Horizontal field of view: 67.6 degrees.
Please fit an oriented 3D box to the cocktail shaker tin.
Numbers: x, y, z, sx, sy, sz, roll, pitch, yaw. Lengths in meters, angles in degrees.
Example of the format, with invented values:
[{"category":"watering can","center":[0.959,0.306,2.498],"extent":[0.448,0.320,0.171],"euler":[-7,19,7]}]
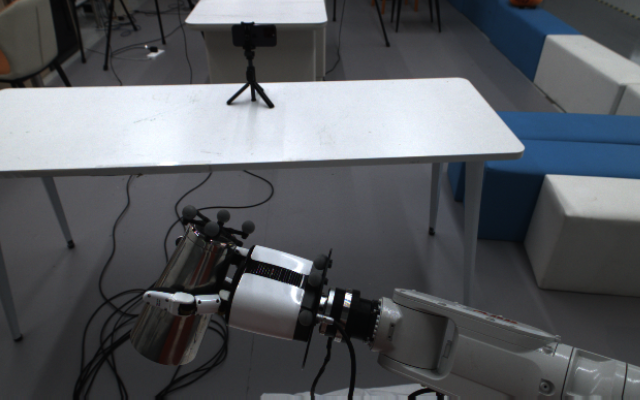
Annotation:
[{"category":"cocktail shaker tin","center":[-0.169,0.114,0.627],"extent":[0.093,0.170,0.093],"euler":[24,12,-6]}]
